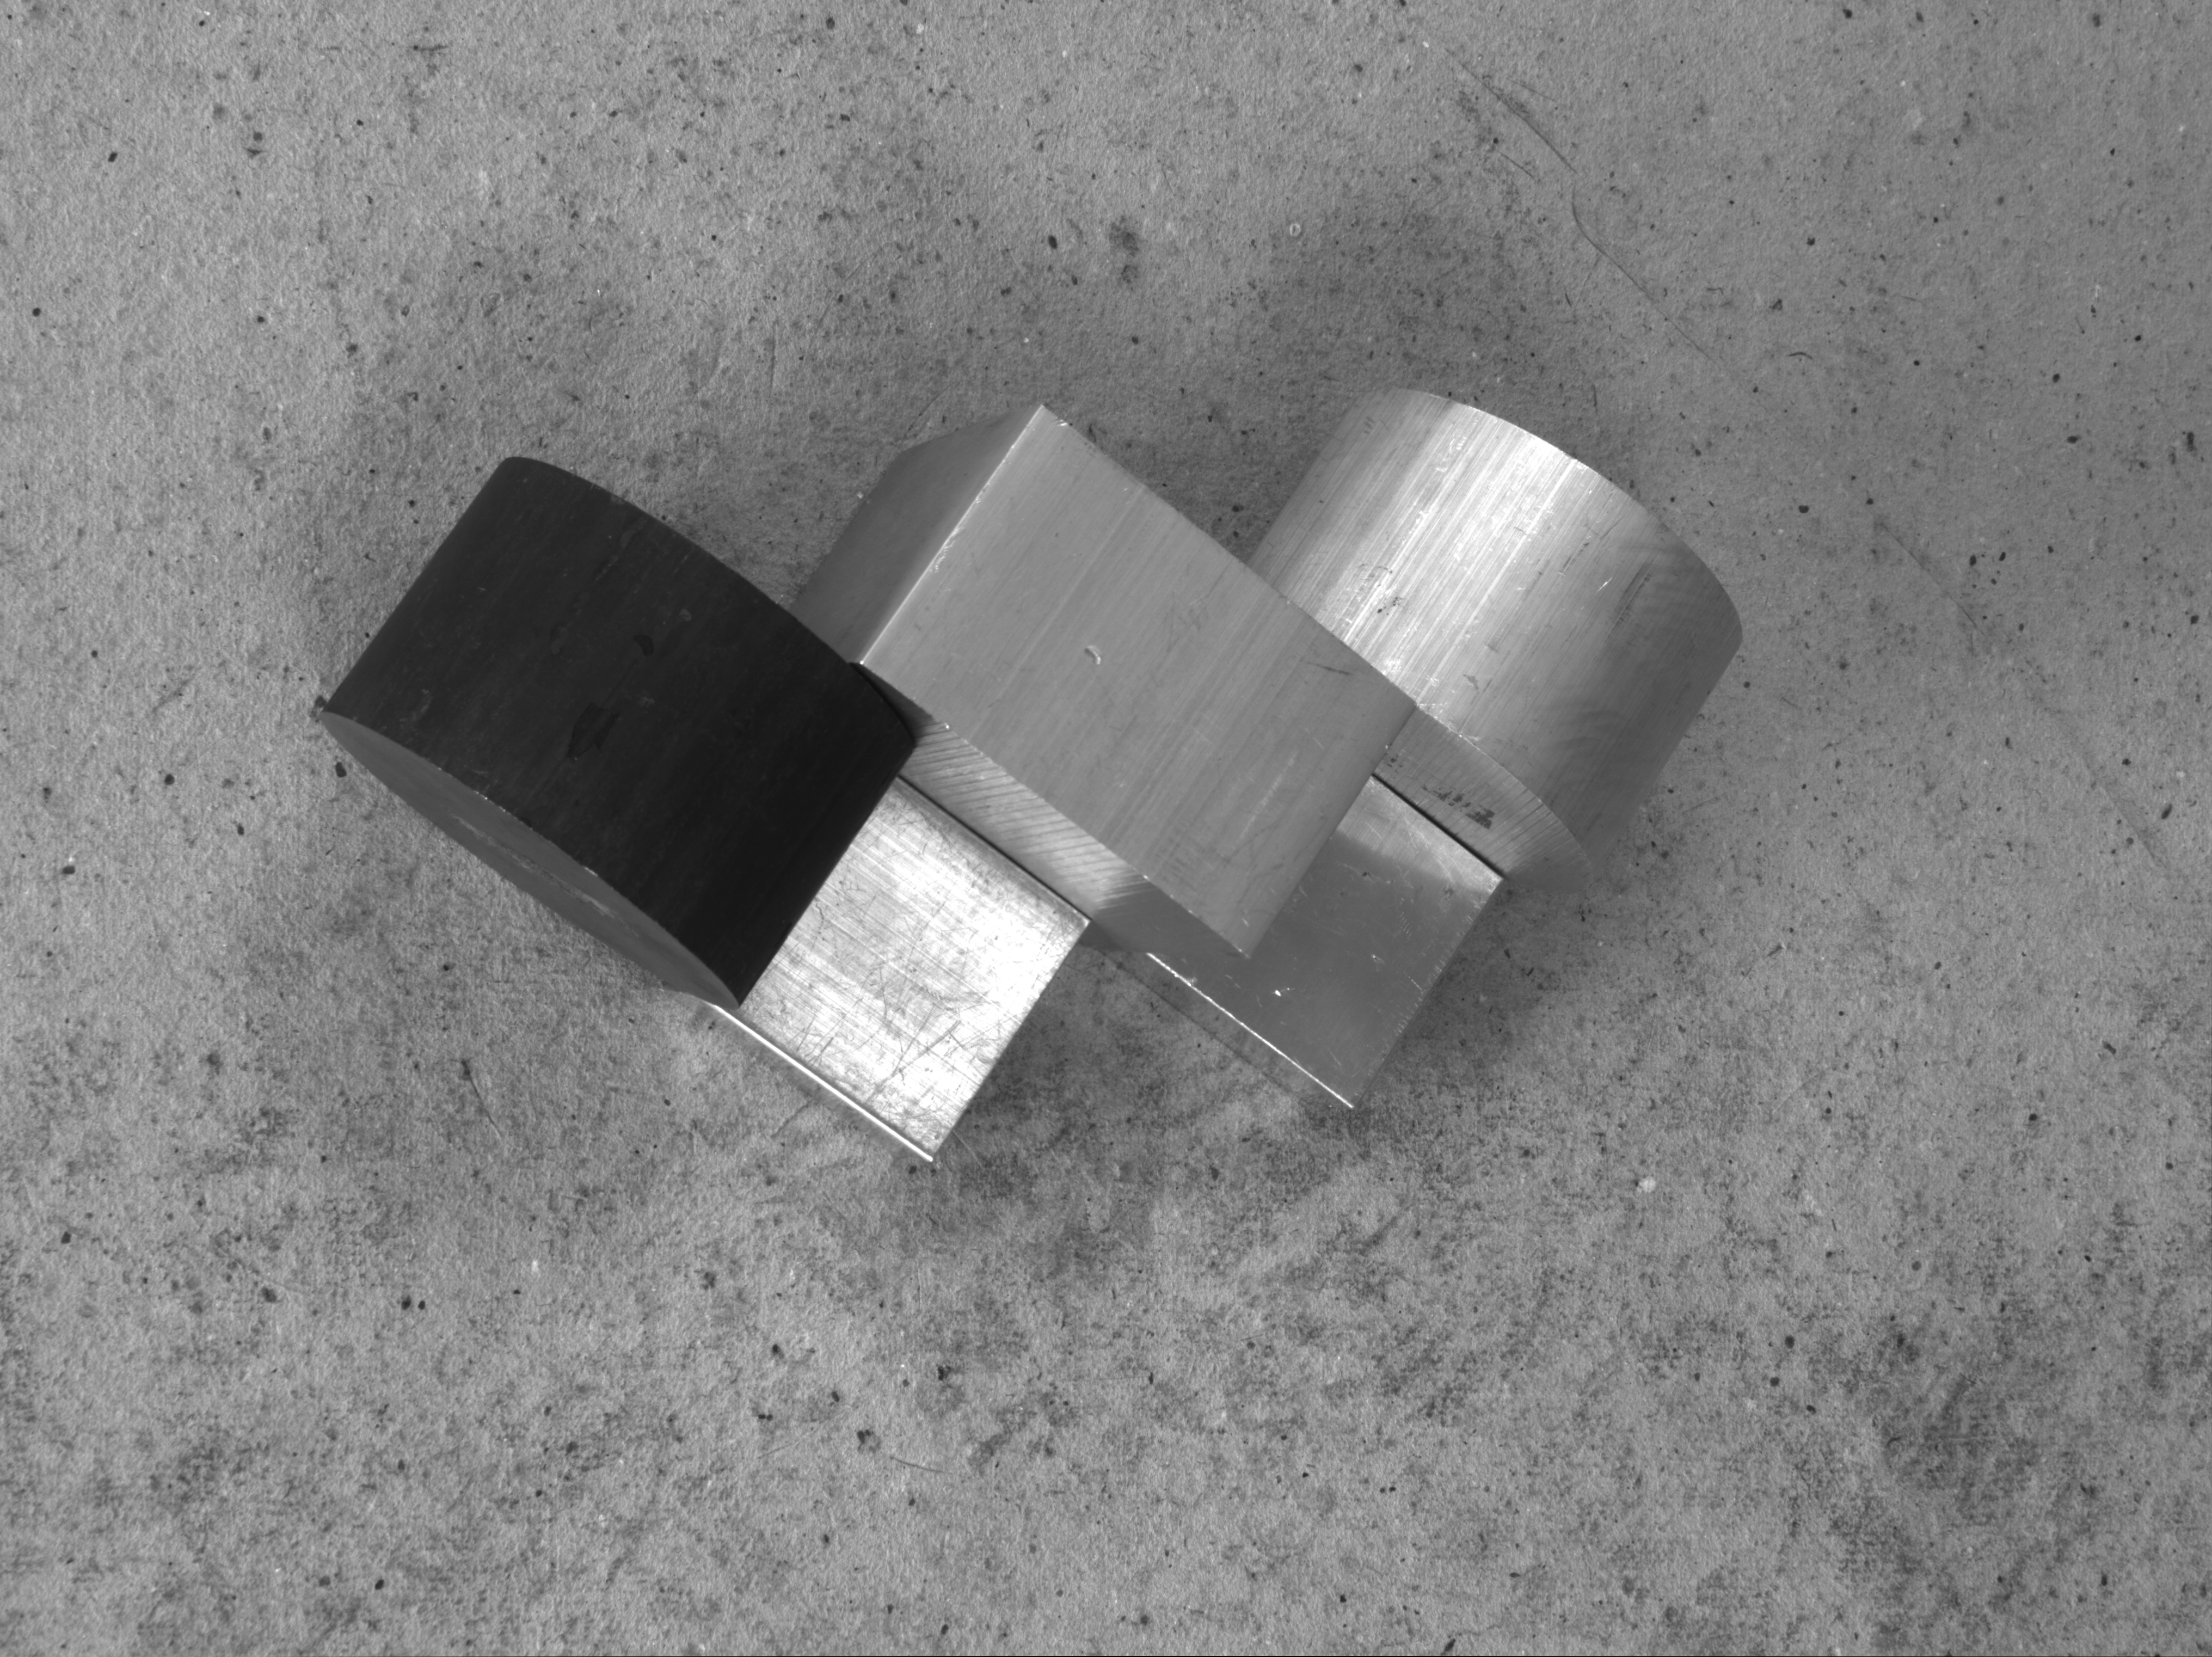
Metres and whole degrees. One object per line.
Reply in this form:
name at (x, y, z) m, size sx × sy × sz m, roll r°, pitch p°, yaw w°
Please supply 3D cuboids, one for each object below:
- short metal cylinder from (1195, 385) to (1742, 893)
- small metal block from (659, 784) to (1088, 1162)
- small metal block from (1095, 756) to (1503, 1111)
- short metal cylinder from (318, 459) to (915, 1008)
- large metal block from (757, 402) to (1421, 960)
short metal cylinder at (0.063, -0.032, 0.637) m, size 0.080 × 0.080 × 0.050 m, roll 37°, pitch 78°, yaw -16°
small metal block at (-0.040, 0.022, 0.630) m, size 0.050 × 0.025 × 0.050 m, roll 37°, pitch 78°, yaw -16°
small metal block at (0.034, 0.015, 0.656) m, size 0.050 × 0.025 × 0.050 m, roll 37°, pitch 78°, yaw -16°
short metal cylinder at (-0.078, -0.015, 0.587) m, size 0.080 × 0.080 × 0.050 m, roll 37°, pitch 78°, yaw -16°
large metal block at (-0.007, -0.023, 0.613) m, size 0.080 × 0.080 × 0.050 m, roll 37°, pitch 78°, yaw -16°
